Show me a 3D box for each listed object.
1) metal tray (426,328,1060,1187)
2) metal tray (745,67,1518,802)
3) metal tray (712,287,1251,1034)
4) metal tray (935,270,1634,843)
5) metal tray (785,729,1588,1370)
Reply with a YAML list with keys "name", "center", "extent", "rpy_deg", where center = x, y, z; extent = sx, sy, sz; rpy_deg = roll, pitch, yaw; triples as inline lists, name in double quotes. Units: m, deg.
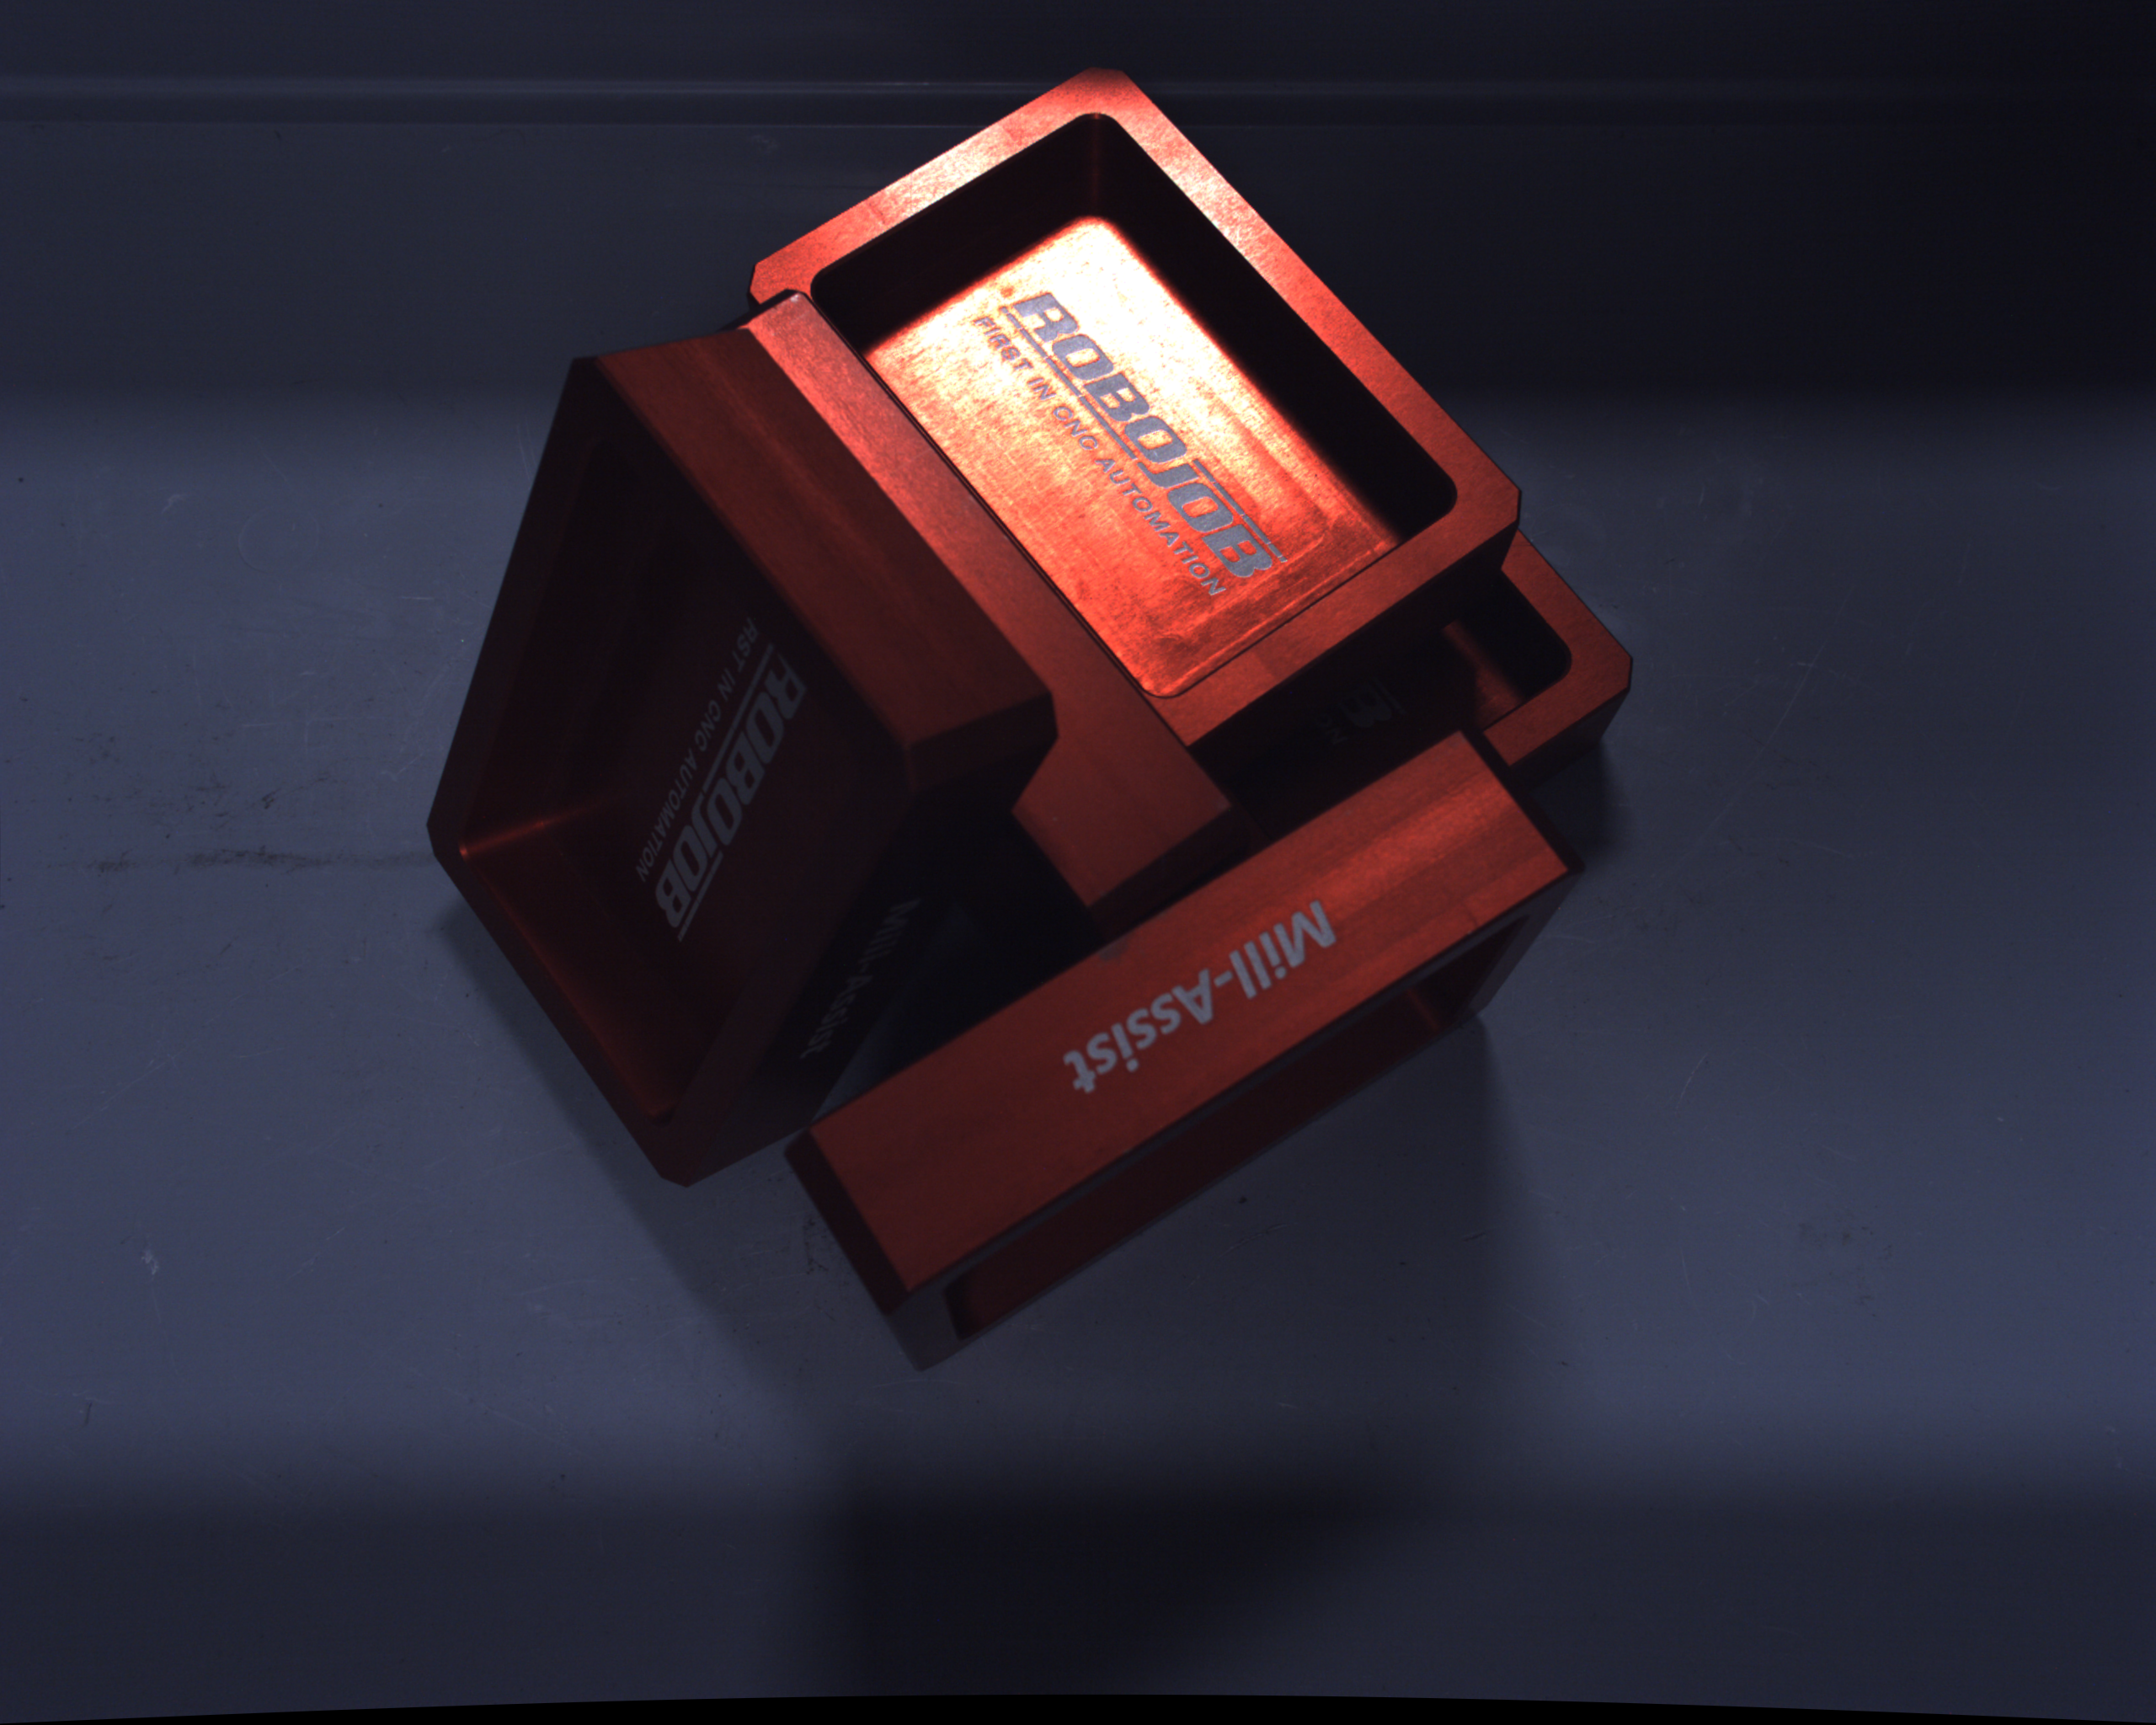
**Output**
- name: "metal tray"
  center: [-0.064, -0.014, 0.358]
  extent: [0.030, 0.129, 0.090]
  rpy_deg: [-25, 69, -41]
- name: "metal tray"
  center: [0.009, -0.083, 0.404]
  extent: [0.090, 0.030, 0.130]
  rpy_deg: [-35, 73, -12]
- name: "metal tray"
  center: [-0.023, -0.031, 0.384]
  extent: [0.030, 0.090, 0.130]
  rpy_deg: [-35, 74, -12]
- name: "metal tray"
  center: [0.037, -0.058, 0.428]
  extent: [0.090, 0.030, 0.130]
  rpy_deg: [-33, 73, -10]
- name: "metal tray"
  center: [0.018, 0.036, 0.361]
  extent: [0.131, 0.090, 0.030]
  rpy_deg: [-31, 73, -11]
